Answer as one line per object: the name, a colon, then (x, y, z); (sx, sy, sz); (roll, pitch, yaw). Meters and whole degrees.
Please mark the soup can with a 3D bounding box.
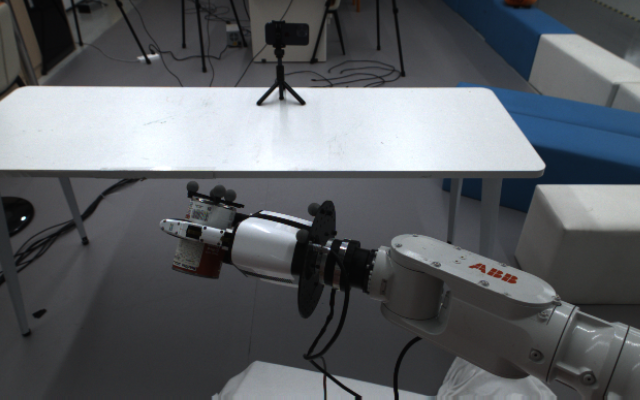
soup can: (-0.161, 0.055, 0.676); (0.067, 0.101, 0.067); (13, -6, 1)
